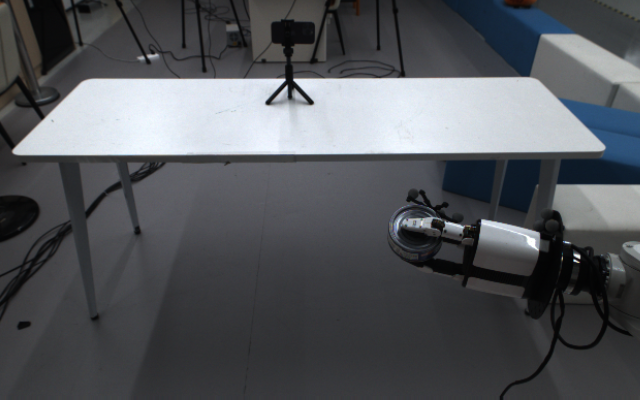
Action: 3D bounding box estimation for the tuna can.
[{"bbox_3d":[0.151,0.056,0.743,0.085,0.034,0.085,-4,58,6],"label":"tuna can"}]
